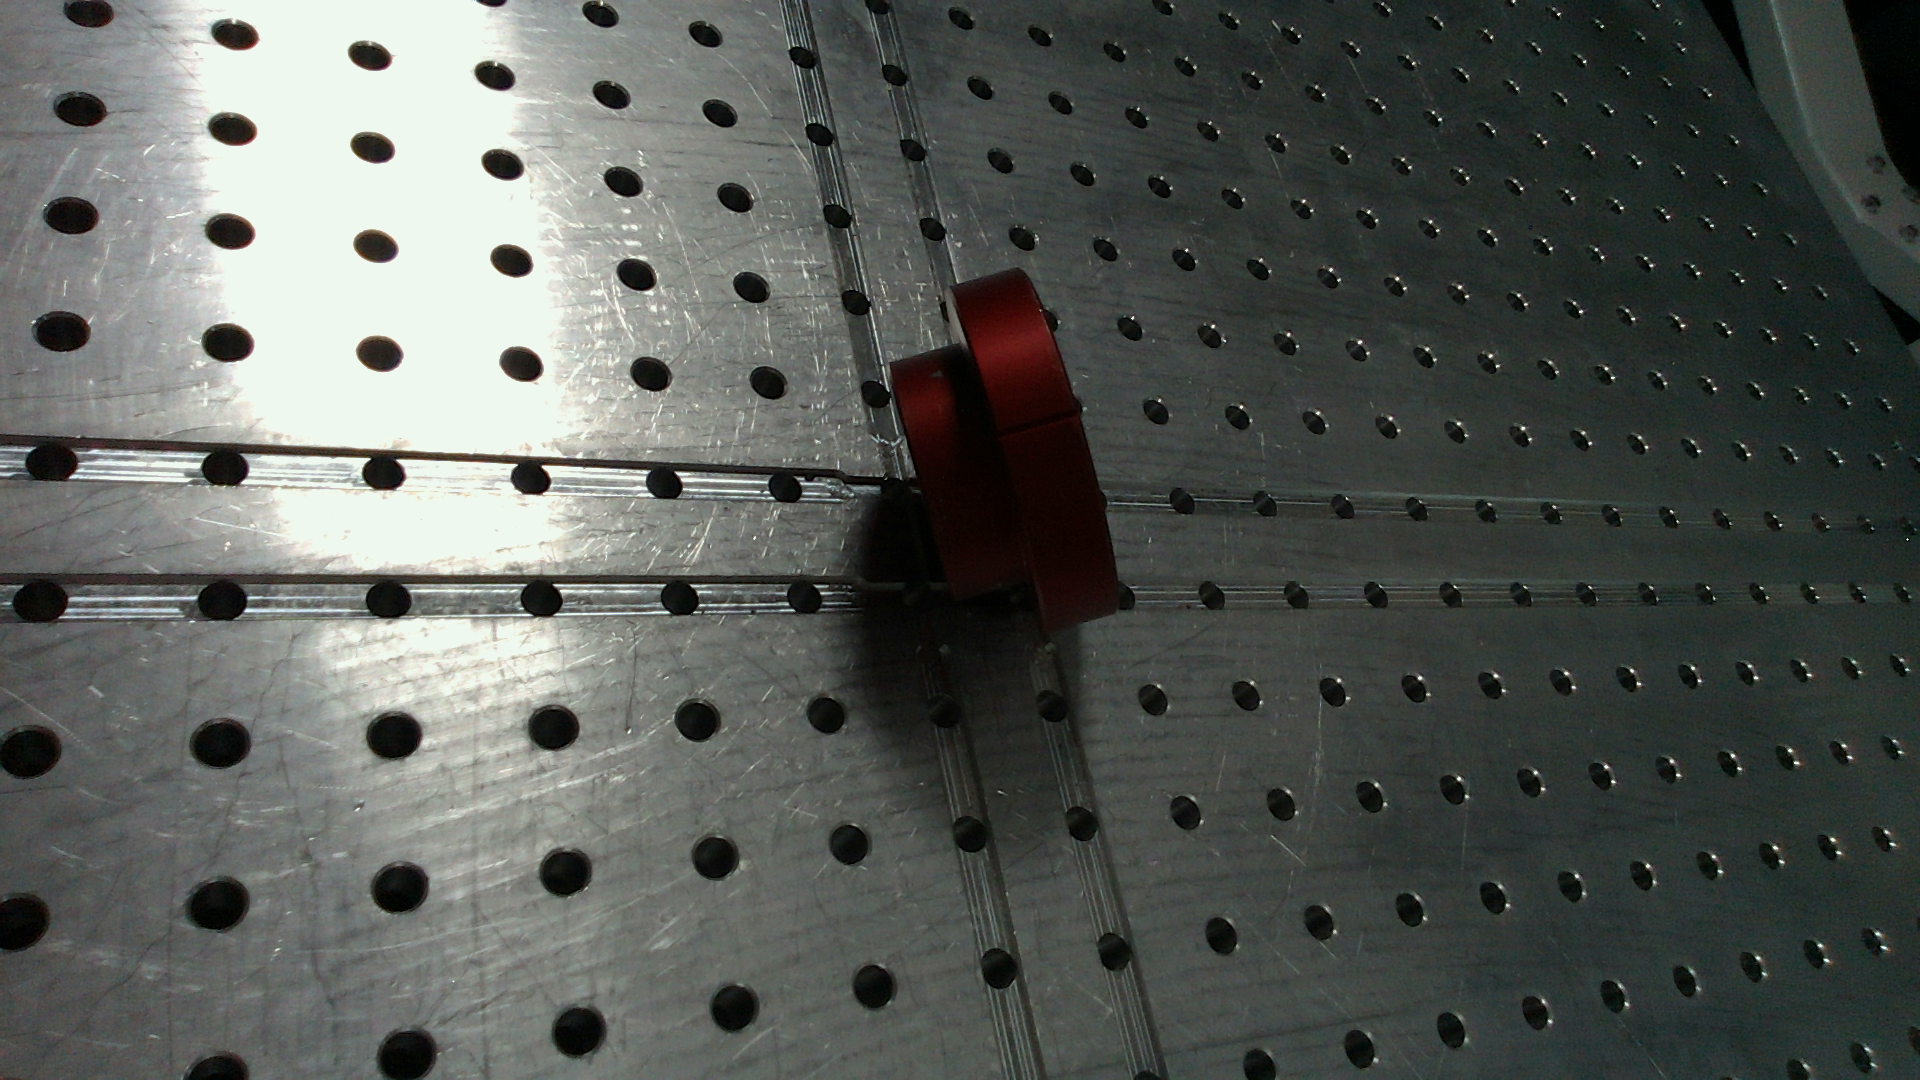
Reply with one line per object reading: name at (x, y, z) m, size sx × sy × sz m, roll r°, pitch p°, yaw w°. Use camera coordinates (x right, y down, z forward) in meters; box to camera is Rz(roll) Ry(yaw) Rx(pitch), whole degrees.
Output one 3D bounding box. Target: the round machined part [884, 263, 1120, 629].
round machined part at (0.009, -0.022, 0.375) m, size 0.042 × 0.098 × 0.098 m, roll -16°, pitch 67°, yaw 0°
